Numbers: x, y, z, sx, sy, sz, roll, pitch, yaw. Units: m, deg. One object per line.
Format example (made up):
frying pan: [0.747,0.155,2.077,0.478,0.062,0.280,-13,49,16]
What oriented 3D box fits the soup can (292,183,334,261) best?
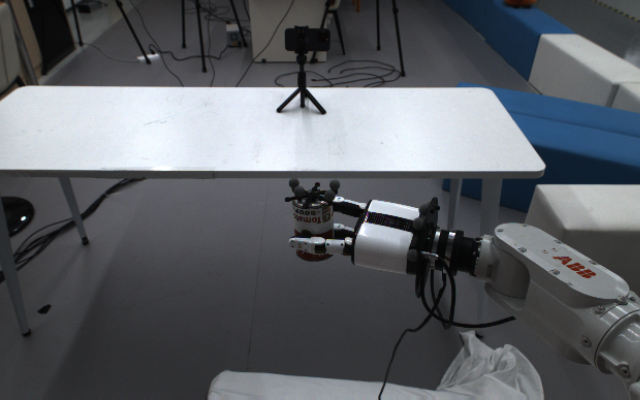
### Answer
soup can: [-0.009,0.041,0.801,0.067,0.101,0.067,-3,27,2]
